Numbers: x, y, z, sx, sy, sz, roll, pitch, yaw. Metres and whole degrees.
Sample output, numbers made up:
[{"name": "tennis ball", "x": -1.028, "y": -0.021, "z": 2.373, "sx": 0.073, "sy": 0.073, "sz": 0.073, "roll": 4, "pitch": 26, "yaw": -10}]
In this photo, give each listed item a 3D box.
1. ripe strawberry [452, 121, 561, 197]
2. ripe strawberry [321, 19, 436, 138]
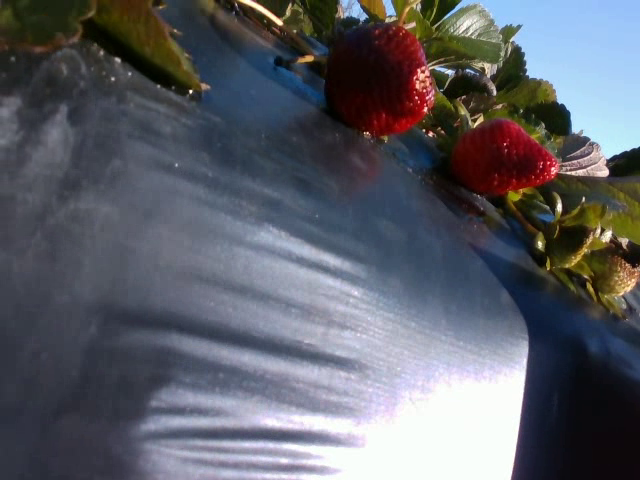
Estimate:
[{"name": "ripe strawberry", "x": 0.080, "y": -0.034, "z": 0.258, "sx": 0.042, "sy": 0.039, "sz": 0.049, "roll": -26, "pitch": 32, "yaw": -35}, {"name": "ripe strawberry", "x": 0.025, "y": -0.059, "z": 0.218, "sx": 0.050, "sy": 0.045, "sz": 0.050, "roll": 43, "pitch": -9, "yaw": -22}]
